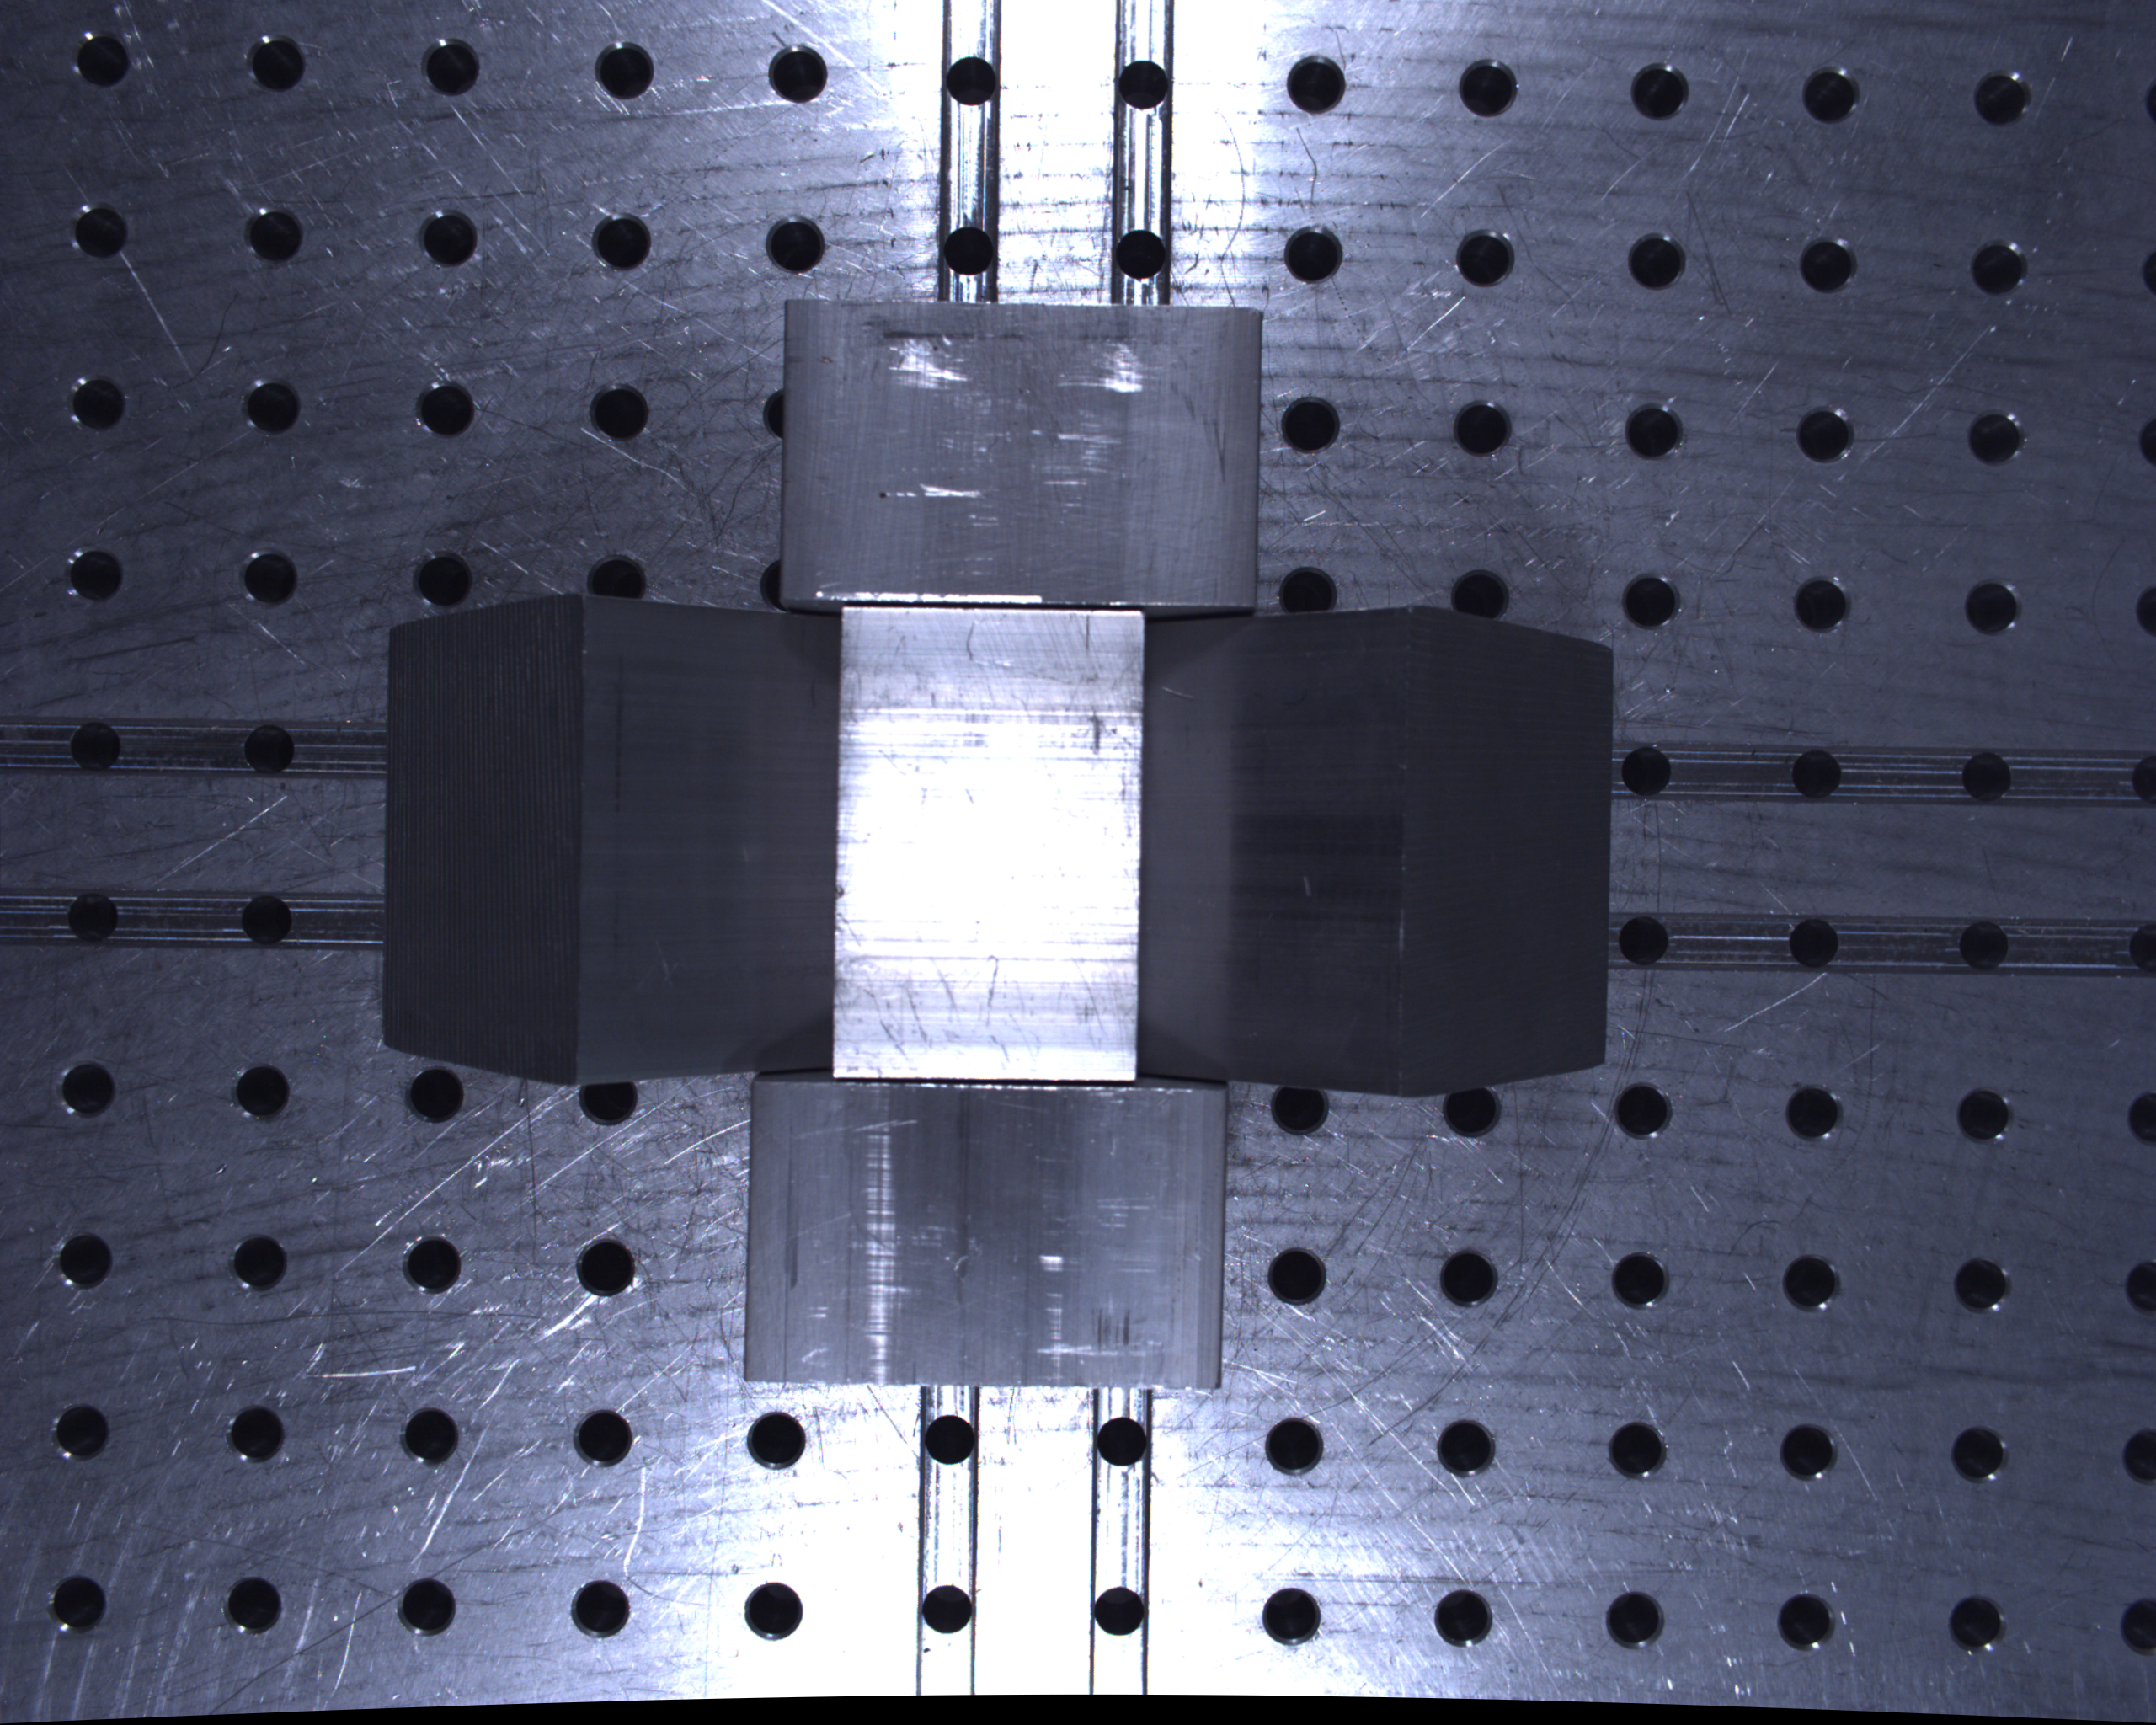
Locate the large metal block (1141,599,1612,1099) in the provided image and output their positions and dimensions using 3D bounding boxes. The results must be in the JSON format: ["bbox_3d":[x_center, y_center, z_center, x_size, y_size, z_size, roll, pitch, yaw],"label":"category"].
[{"bbox_3d":[0.056,-0.002,0.378,0.050,0.081,0.079,1,89,37],"label":"large metal block"}]

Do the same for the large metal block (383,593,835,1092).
[{"bbox_3d":[-0.086,-0.004,0.378,0.050,0.080,0.079,0,91,-40],"label":"large metal block"}]

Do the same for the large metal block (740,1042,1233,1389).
[{"bbox_3d":[-0.015,0.061,0.385,0.081,0.080,0.050,1,90,-1],"label":"large metal block"}]

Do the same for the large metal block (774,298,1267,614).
[{"bbox_3d":[-0.010,-0.068,0.385,0.081,0.080,0.050,1,90,-1],"label":"large metal block"}]

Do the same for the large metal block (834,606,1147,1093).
[{"bbox_3d":[-0.015,-0.002,0.385,0.050,0.080,0.079,1,90,0],"label":"large metal block"}]
